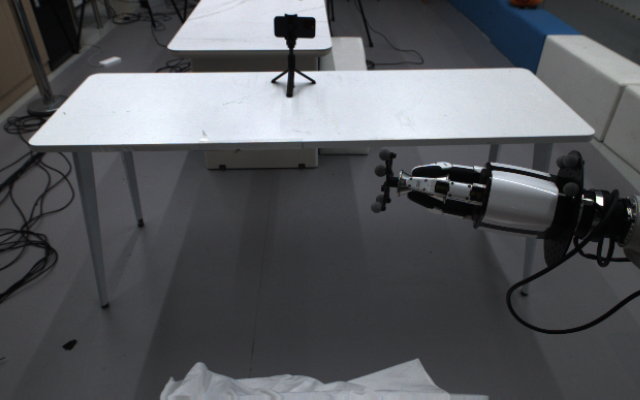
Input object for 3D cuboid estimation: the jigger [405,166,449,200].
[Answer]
[{"bbox_3d":[0.154,-0.024,0.695,0.071,0.043,0.043,8,35,15],"label":"jigger"}]
